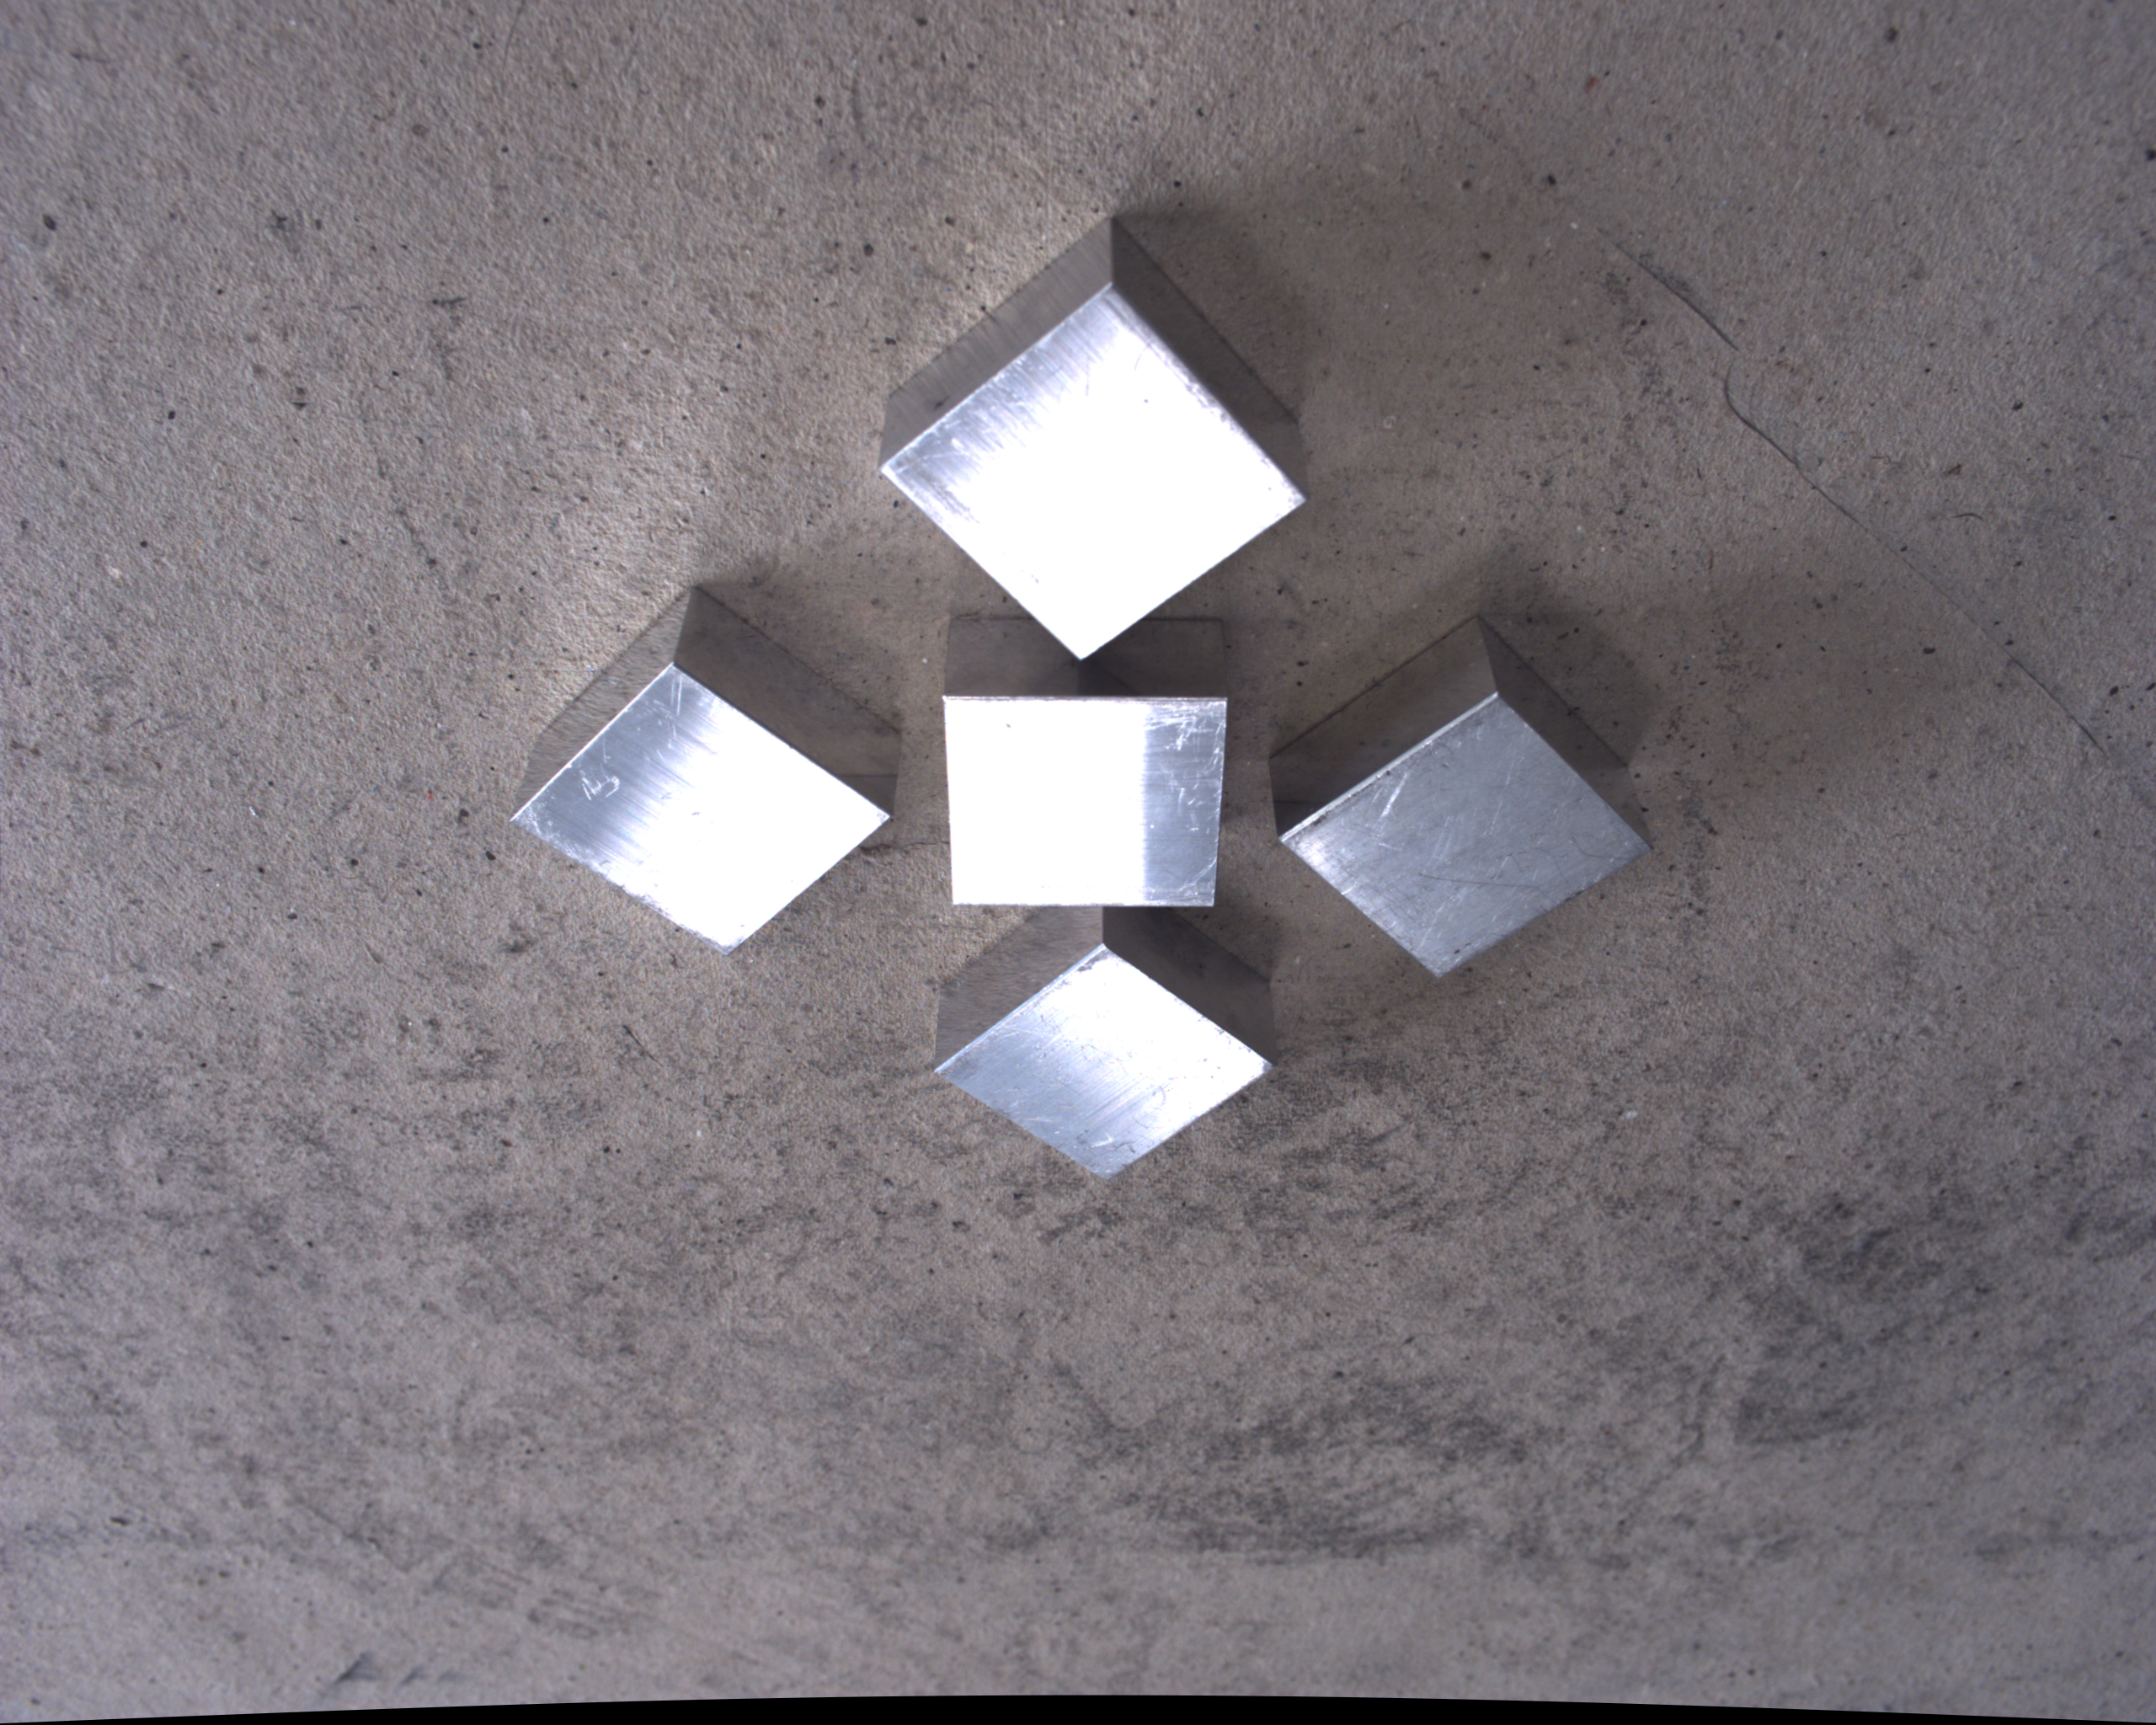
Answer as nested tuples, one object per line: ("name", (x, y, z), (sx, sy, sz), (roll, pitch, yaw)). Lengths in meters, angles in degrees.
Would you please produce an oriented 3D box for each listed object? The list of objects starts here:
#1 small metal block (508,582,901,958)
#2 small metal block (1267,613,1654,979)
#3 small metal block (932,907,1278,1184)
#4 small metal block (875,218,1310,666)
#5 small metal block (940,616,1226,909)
("small metal block", (-0.070, -0.016, 0.394), (0.050, 0.025, 0.050), (36, 120, -27))
("small metal block", (0.073, -0.012, 0.400), (0.050, 0.025, 0.050), (-35, 122, 26))
("small metal block", (0.005, 0.035, 0.438), (0.050, 0.025, 0.050), (36, 121, -27))
("small metal block", (0.003, -0.069, 0.349), (0.050, 0.025, 0.050), (-34, 122, 24))
("small metal block", (0.001, -0.018, 0.392), (0.050, 0.025, 0.050), (0, 130, 0))
